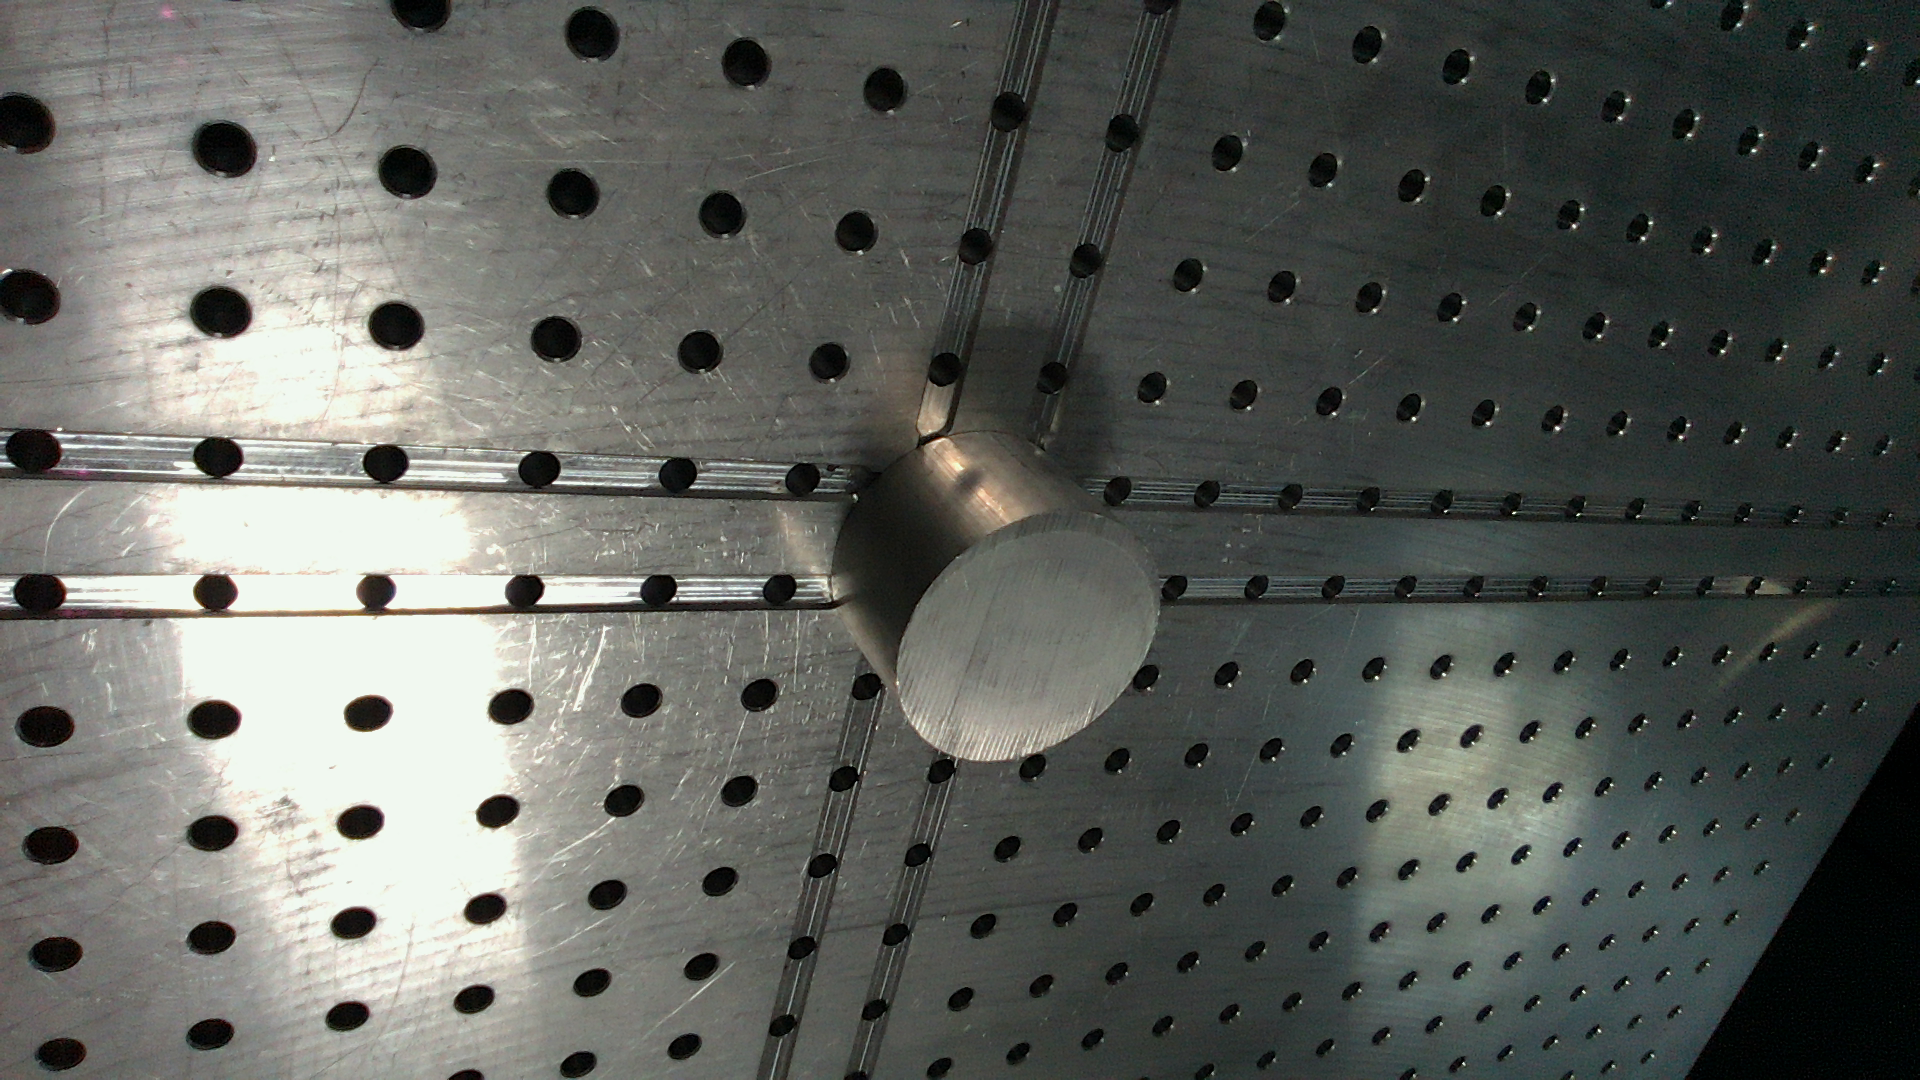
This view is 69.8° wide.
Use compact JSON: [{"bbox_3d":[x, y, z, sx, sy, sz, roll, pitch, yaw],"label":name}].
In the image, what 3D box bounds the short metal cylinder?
[{"bbox_3d":[0.009,0.015,0.390,0.080,0.050,0.080,-14,124,-21],"label":"short metal cylinder"}]
